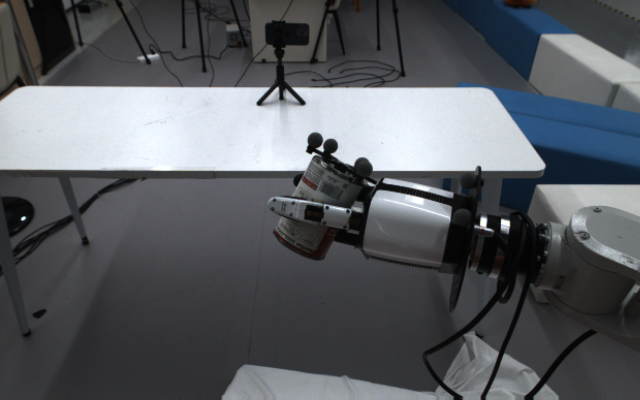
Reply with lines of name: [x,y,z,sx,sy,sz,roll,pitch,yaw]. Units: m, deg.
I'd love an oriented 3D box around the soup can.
soup can: [0.000,0.009,0.555,0.067,0.101,0.067,27,10,-5]
